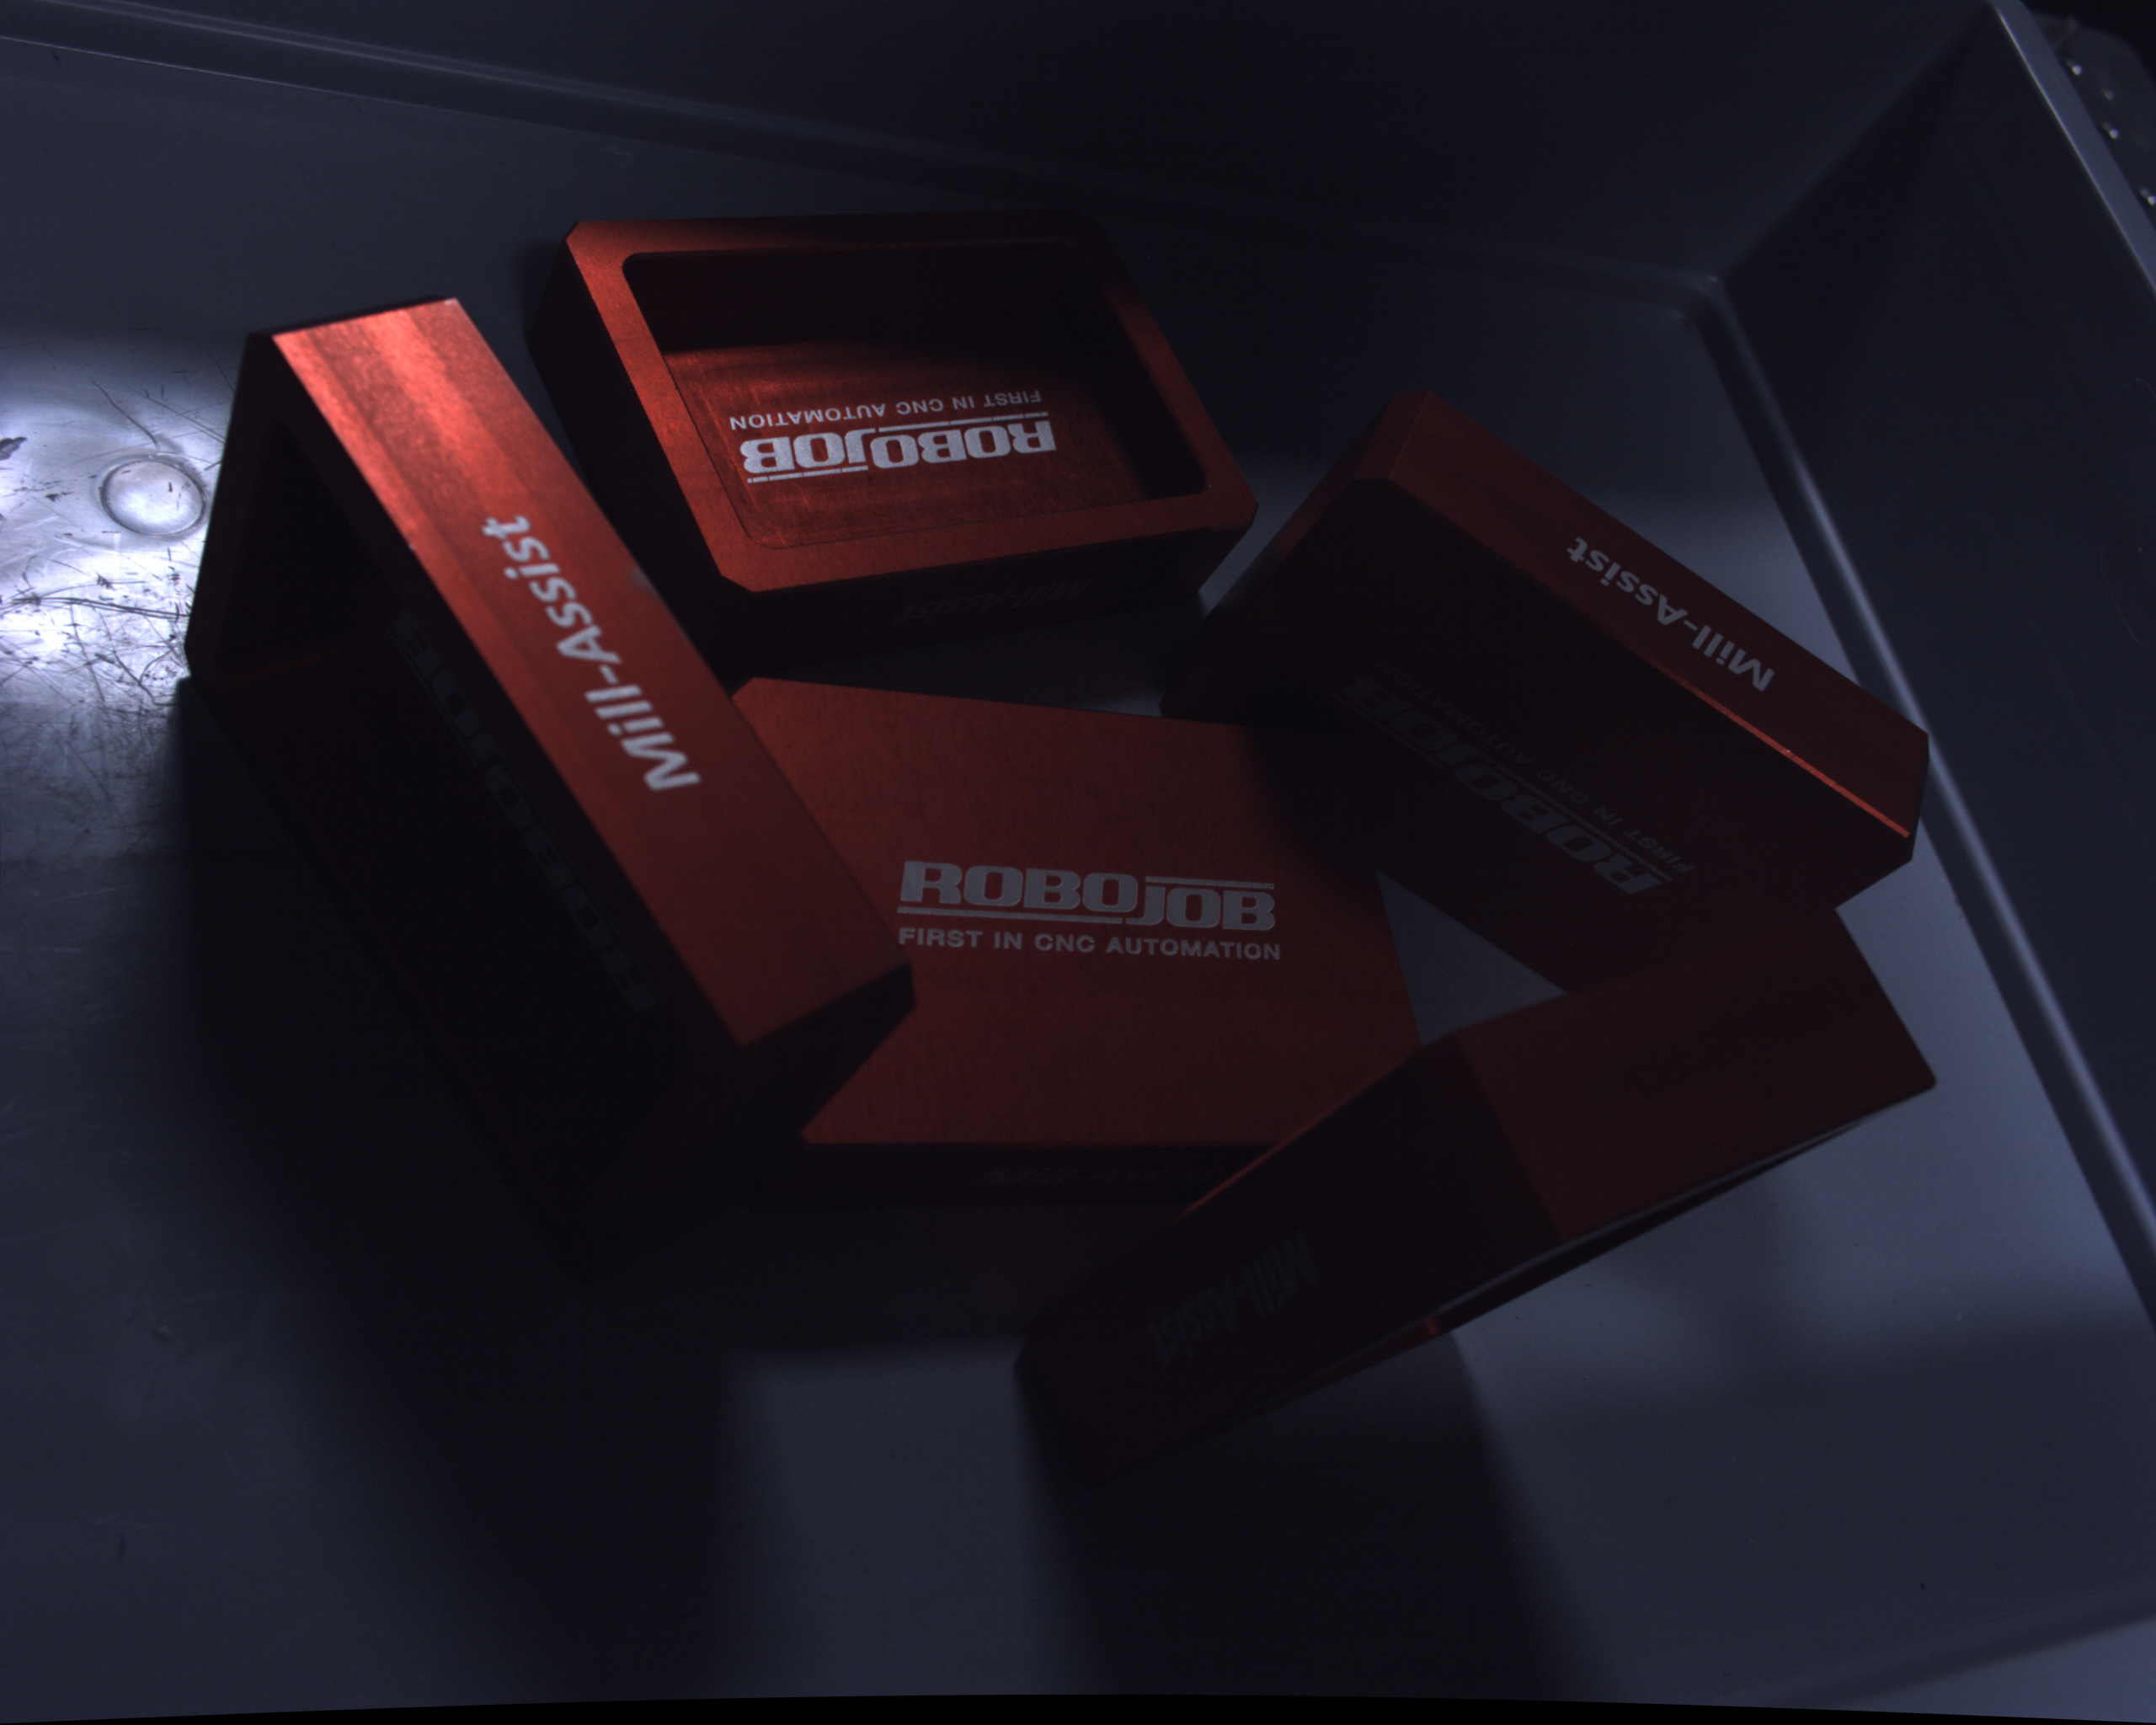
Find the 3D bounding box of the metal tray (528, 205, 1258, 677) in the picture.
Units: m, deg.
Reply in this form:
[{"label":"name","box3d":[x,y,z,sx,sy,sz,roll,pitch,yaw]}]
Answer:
[{"label":"metal tray","box3d":[-0.036,-0.092,0.438,0.131,0.030,0.090,-14,69,-34]}]

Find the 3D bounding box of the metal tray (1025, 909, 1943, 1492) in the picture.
[{"label":"metal tray","box3d":[0.059,0.057,0.333,0.091,0.129,0.030,-13,69,-34]}]

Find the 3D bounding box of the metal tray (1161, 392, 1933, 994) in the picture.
[{"label":"metal tray","box3d":[0.094,-0.027,0.430,0.130,0.090,0.030,33,52,-7]}]

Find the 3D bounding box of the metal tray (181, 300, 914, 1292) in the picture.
[{"label":"metal tray","box3d":[-0.087,-0.008,0.320,0.030,0.090,0.130,-27,77,-38]}]

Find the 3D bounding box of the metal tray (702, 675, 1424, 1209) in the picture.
[{"label":"metal tray","box3d":[-0.002,0.016,0.389,0.131,0.030,0.090,3,60,-27]}]
